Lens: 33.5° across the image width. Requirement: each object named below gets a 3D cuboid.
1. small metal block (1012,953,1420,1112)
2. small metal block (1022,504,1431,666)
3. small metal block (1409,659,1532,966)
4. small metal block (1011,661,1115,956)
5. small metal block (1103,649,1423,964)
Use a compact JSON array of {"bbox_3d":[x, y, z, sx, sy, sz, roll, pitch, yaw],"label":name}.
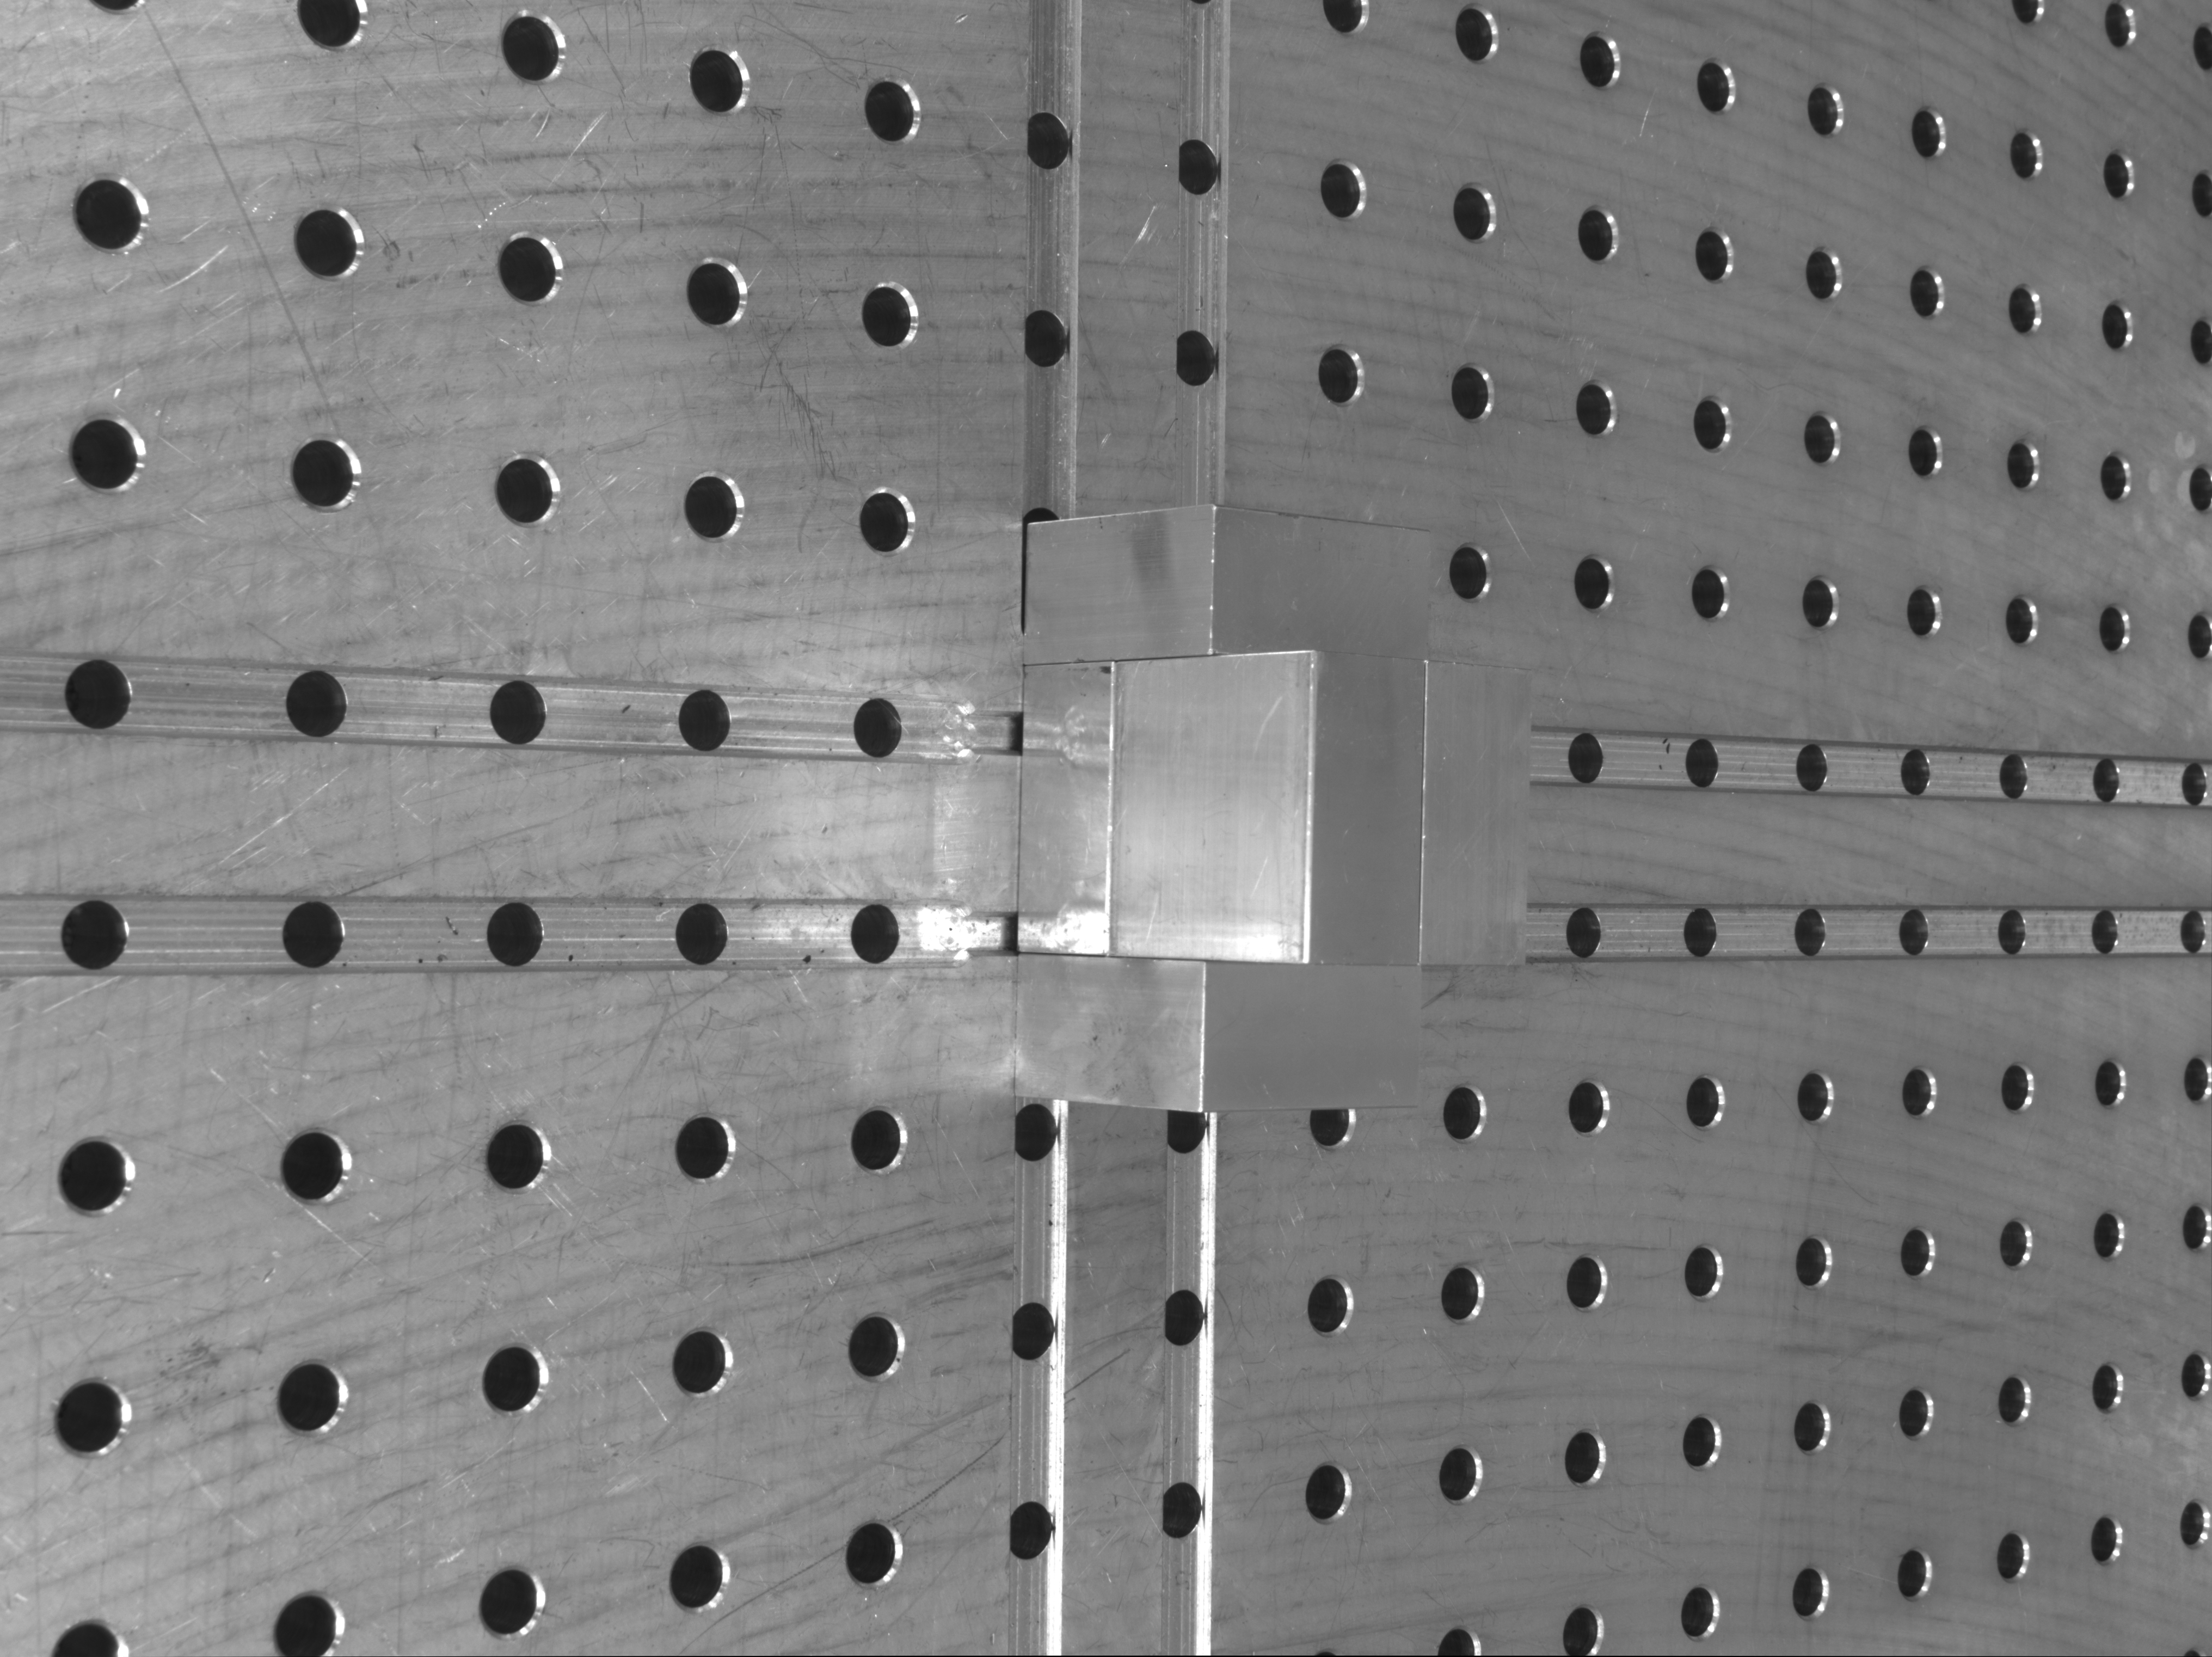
[{"bbox_3d":[0.019,0.035,0.638,0.050,0.050,0.025,2,88,-39],"label":"small metal block"},{"bbox_3d":[0.021,-0.040,0.639,0.050,0.050,0.025,3,88,-40],"label":"small metal block"},{"bbox_3d":[0.046,-0.002,0.629,0.025,0.050,0.050,2,88,-38],"label":"small metal block"},{"bbox_3d":[0.011,-0.003,0.648,0.050,0.025,0.050,2,89,-38],"label":"small metal block"},{"bbox_3d":[0.026,-0.003,0.612,0.025,0.050,0.050,2,88,-40],"label":"small metal block"}]
